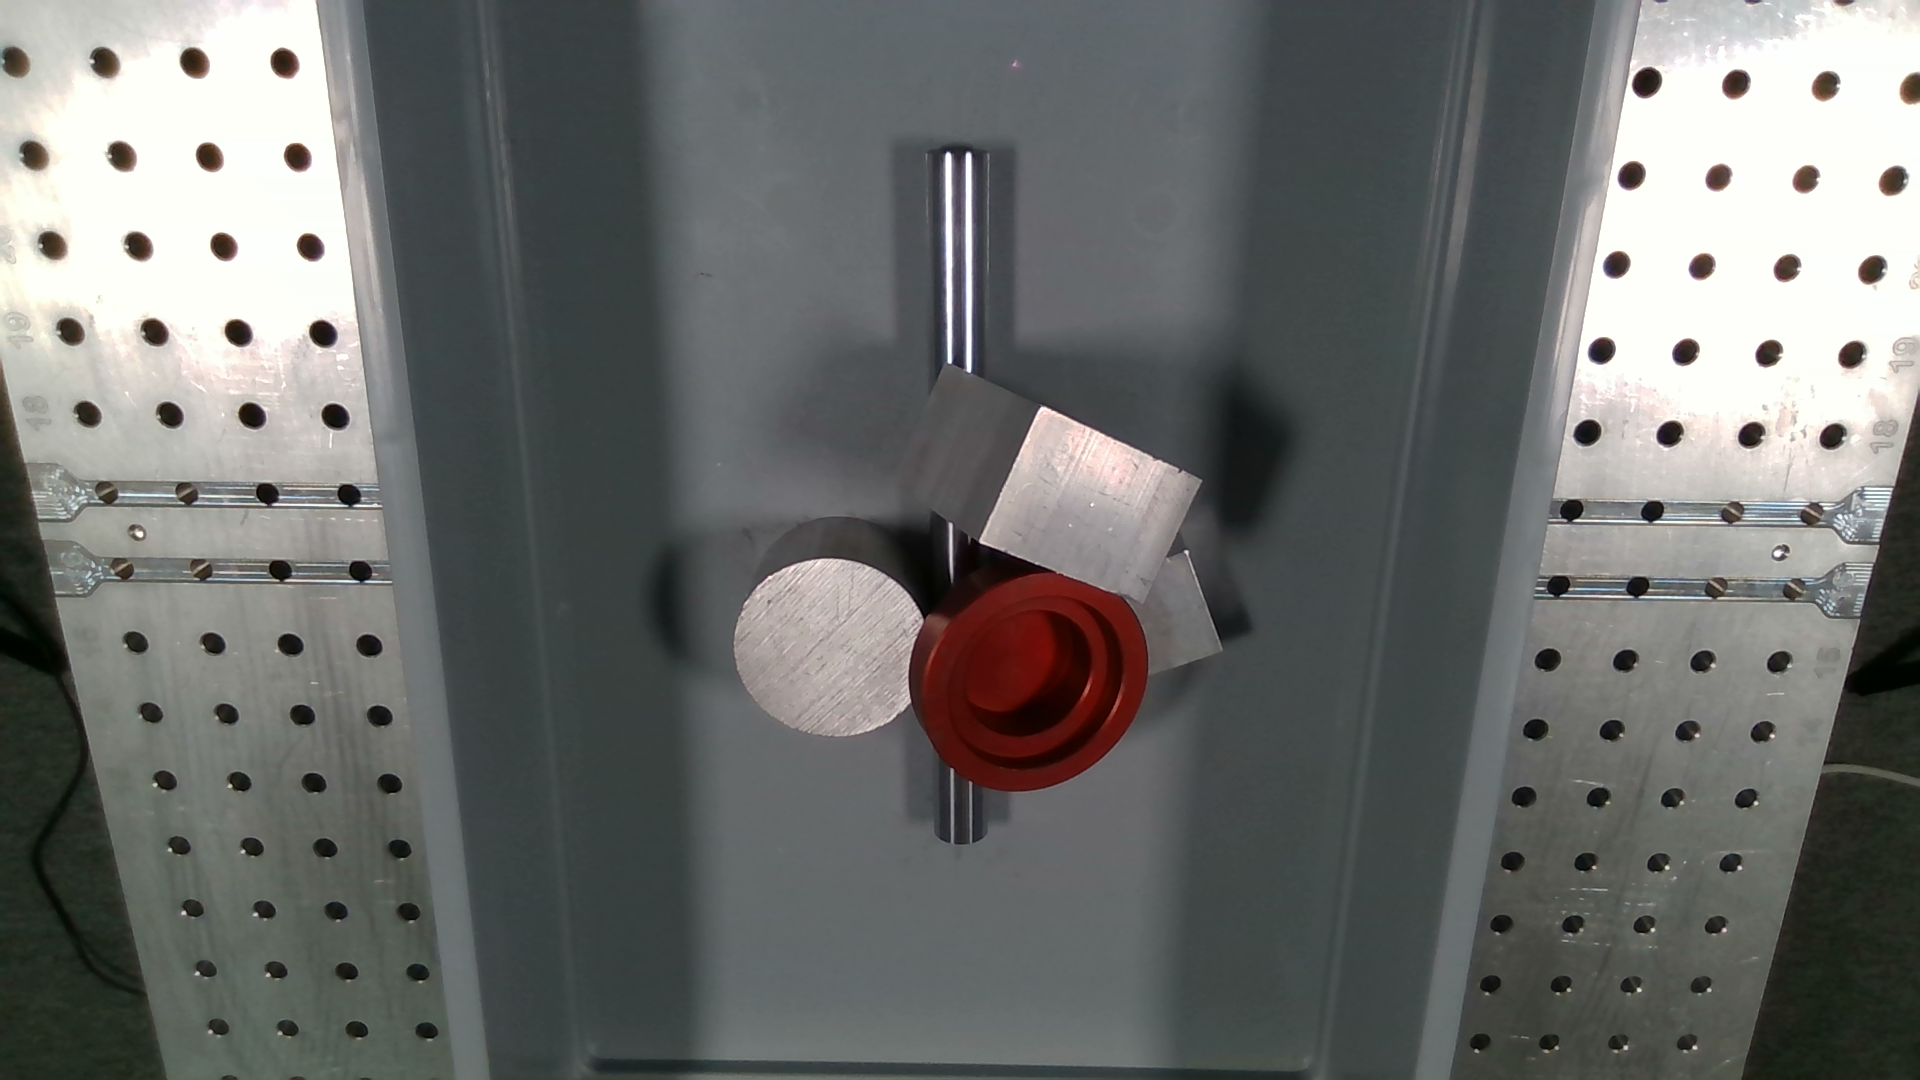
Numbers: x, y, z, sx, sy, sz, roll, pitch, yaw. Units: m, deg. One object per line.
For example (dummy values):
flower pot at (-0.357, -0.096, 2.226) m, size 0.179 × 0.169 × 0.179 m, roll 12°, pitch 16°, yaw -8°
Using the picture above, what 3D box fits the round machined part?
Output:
round machined part at (0.025, 0.051, 0.573) m, size 0.098 × 0.042 × 0.098 m, roll -6°, pitch 111°, yaw -16°

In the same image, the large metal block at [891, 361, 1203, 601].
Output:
large metal block at (0.031, -0.024, 0.530) m, size 0.080 × 0.080 × 0.050 m, roll 20°, pitch 99°, yaw -31°

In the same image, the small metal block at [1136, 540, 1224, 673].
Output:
small metal block at (0.080, 0.029, 0.595) m, size 0.050 × 0.025 × 0.050 m, roll -20°, pitch 109°, yaw 7°

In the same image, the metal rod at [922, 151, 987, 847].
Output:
metal rod at (-0.002, -0.007, 0.579) m, size 0.025 × 0.025 × 0.301 m, roll 0°, pitch 110°, yaw 0°

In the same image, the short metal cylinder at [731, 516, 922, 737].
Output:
short metal cylinder at (-0.053, 0.036, 0.582) m, size 0.080 × 0.050 × 0.080 m, roll 0°, pitch 110°, yaw 0°
